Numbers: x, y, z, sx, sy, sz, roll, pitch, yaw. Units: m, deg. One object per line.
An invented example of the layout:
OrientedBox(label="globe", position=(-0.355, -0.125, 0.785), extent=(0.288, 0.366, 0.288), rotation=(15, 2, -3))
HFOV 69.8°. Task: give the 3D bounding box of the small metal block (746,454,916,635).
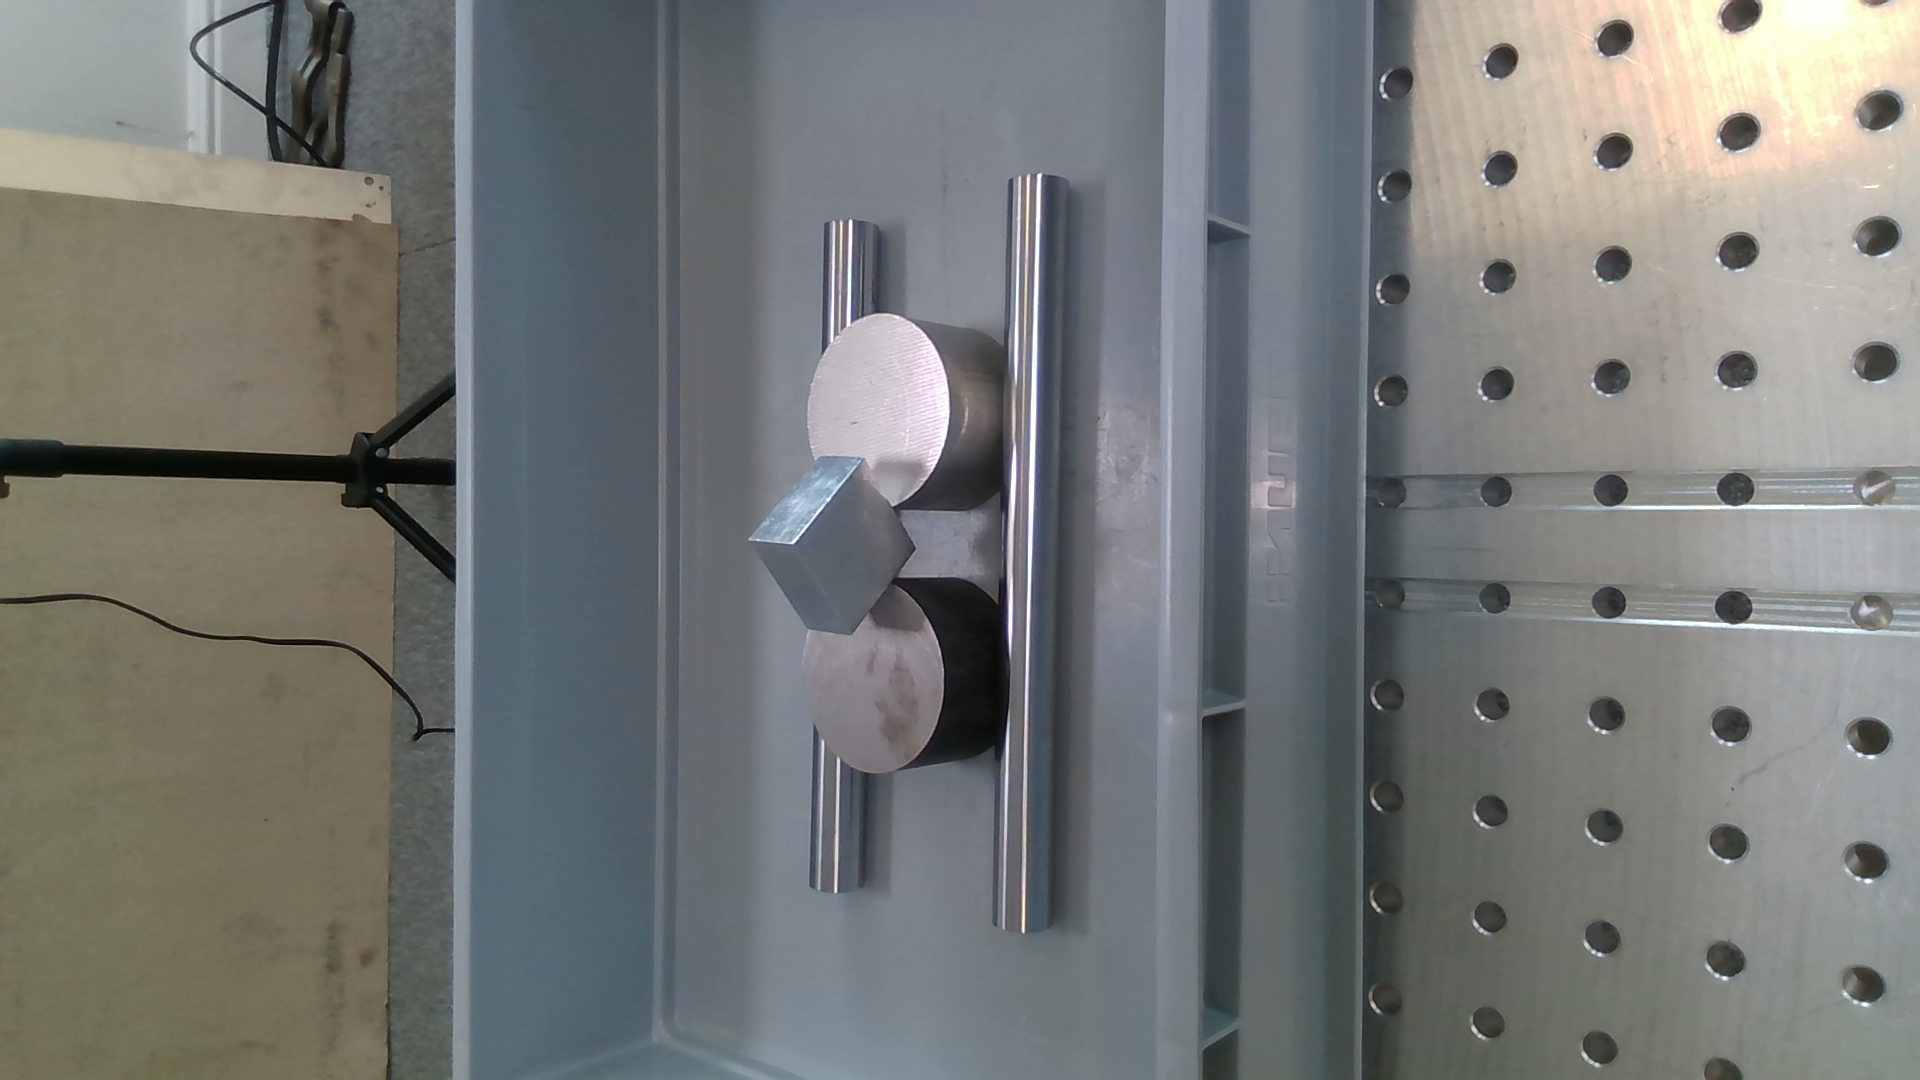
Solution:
OrientedBox(label="small metal block", position=(-0.050, 0.001, 0.547), extent=(0.025, 0.050, 0.050), rotation=(4, 136, 39))

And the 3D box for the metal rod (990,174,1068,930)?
OrientedBox(label="metal rod", position=(0.028, 0.006, 0.557), extent=(0.025, 0.025, 0.300), rotation=(3, 92, 40))

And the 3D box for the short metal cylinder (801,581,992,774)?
OrientedBox(label="short metal cylinder", position=(-0.022, 0.056, 0.584), extent=(0.080, 0.050, 0.080), rotation=(0, 91, 40))

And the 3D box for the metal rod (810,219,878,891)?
OrientedBox(label="metal rod", position=(-0.053, 0.008, 0.626), extent=(0.025, 0.025, 0.300), rotation=(3, 93, 40))

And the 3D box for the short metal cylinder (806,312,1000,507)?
OrientedBox(label="short metal cylinder", position=(-0.019, -0.053, 0.580), extent=(0.080, 0.050, 0.080), rotation=(0, 91, 40))
